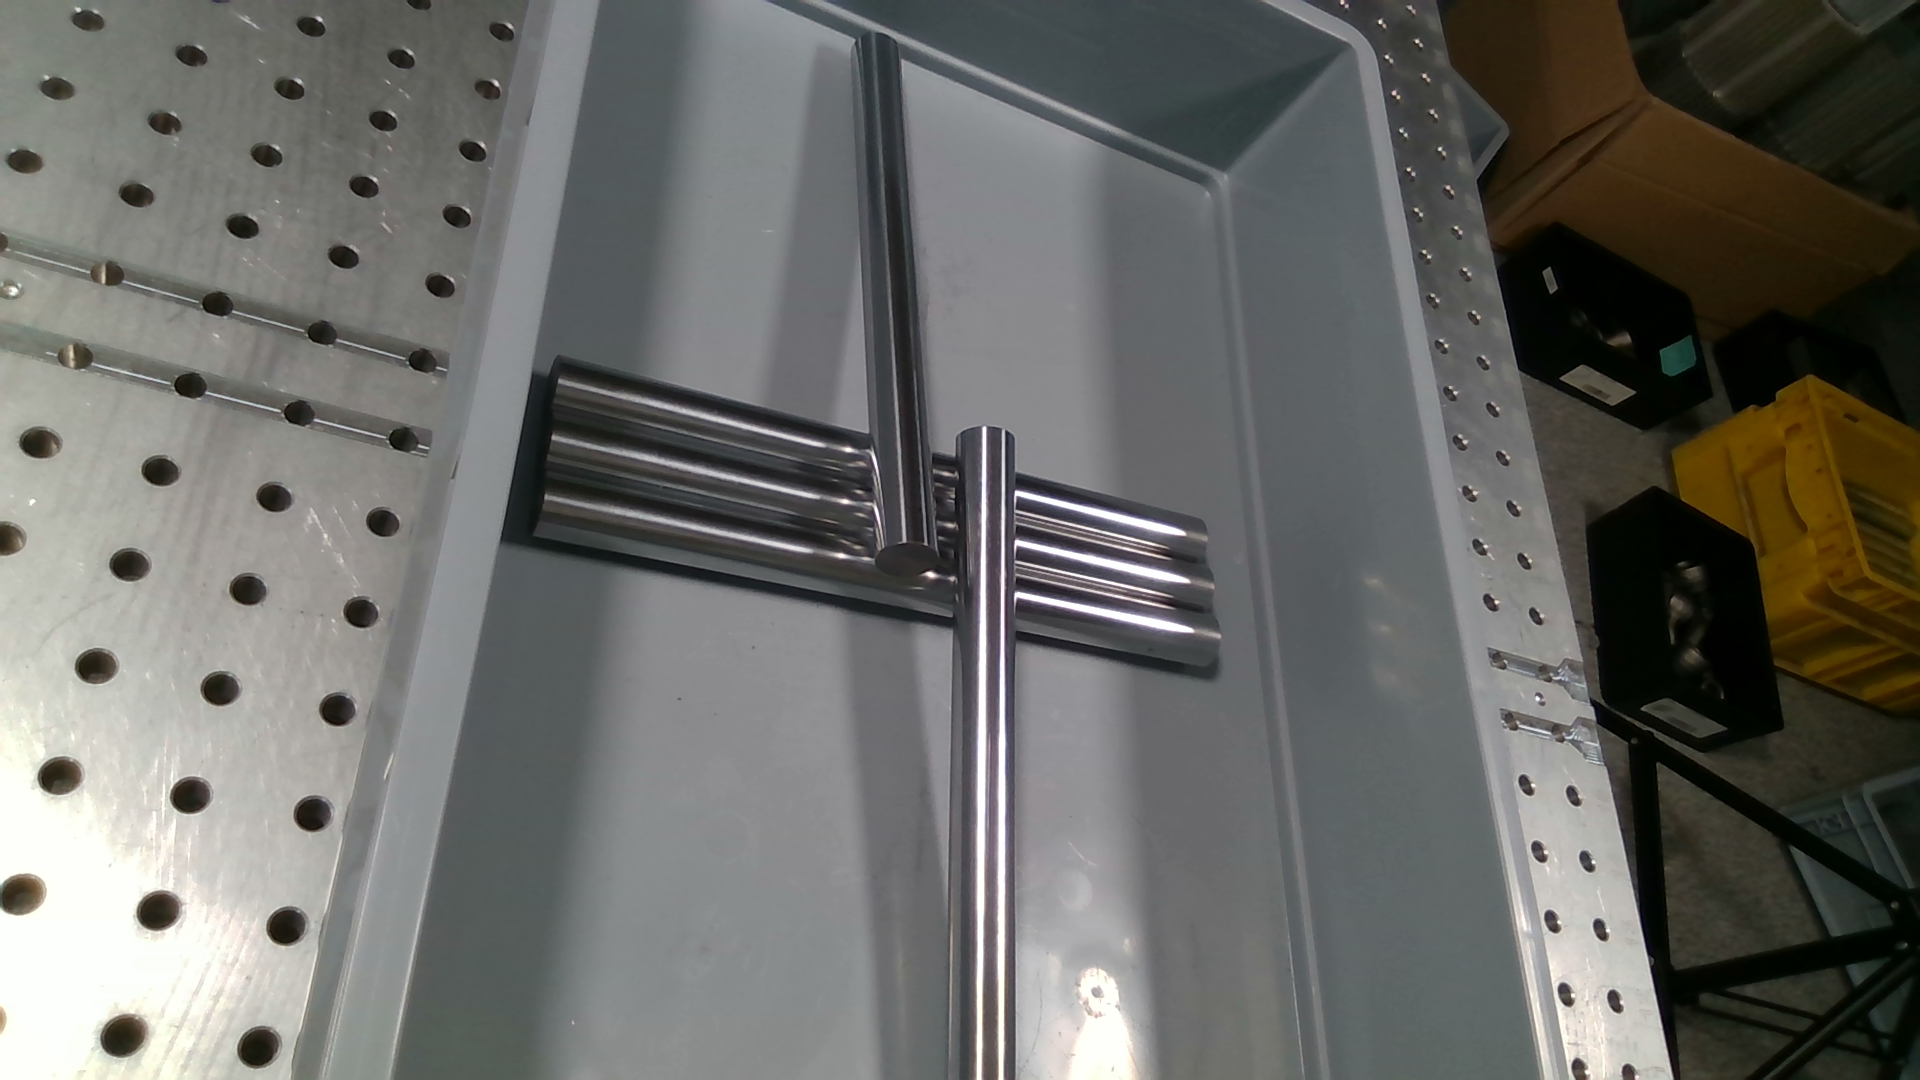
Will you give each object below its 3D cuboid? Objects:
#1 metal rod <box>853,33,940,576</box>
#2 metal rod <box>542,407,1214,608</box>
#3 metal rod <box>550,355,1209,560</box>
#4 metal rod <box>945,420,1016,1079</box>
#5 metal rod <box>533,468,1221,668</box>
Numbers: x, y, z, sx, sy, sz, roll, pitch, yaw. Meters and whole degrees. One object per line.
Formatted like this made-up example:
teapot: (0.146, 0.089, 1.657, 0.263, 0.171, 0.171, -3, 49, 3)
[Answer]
metal rod: (-0.031, -0.118, 0.608, 0.025, 0.025, 0.299, 13, 53, -26)
metal rod: (-0.021, -0.007, 0.576, 0.300, 0.025, 0.025, 13, 59, -26)
metal rod: (-0.022, -0.028, 0.587, 0.300, 0.025, 0.025, 13, 59, -26)
metal rod: (0.009, 0.095, 0.517, 0.025, 0.025, 0.299, 12, 66, -26)
metal rod: (-0.021, 0.016, 0.564, 0.300, 0.025, 0.025, 13, 59, -26)
